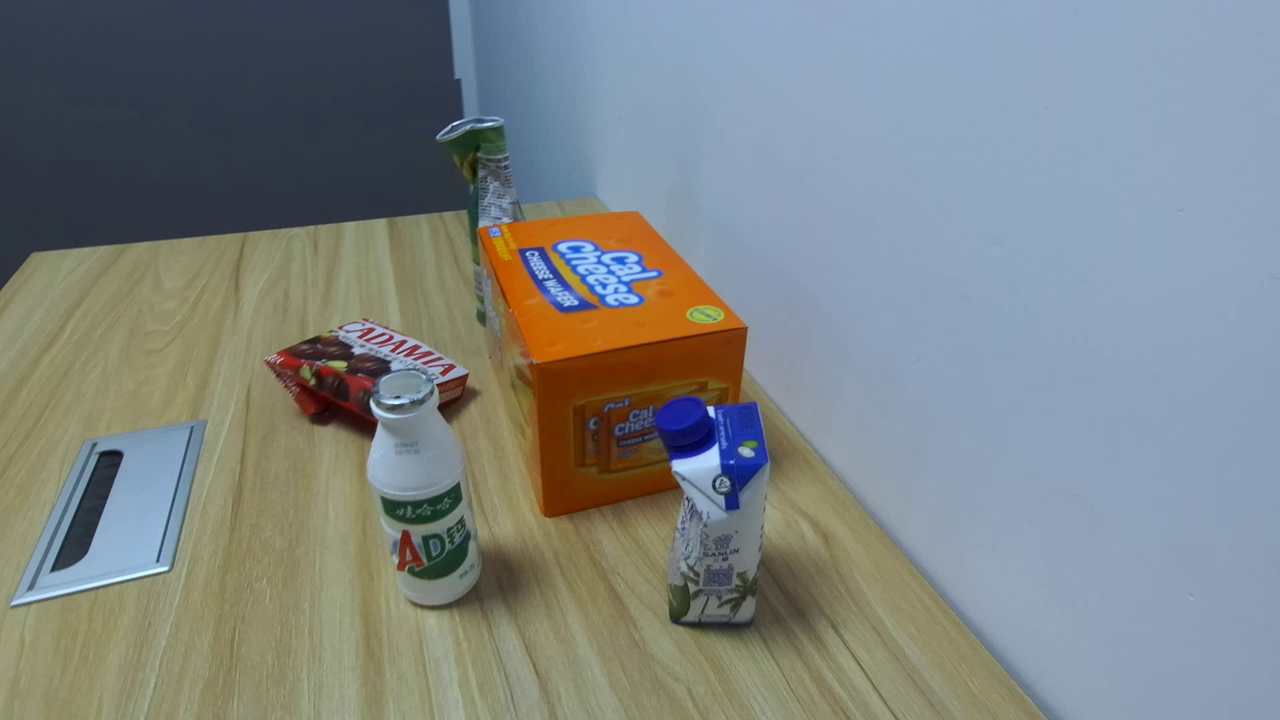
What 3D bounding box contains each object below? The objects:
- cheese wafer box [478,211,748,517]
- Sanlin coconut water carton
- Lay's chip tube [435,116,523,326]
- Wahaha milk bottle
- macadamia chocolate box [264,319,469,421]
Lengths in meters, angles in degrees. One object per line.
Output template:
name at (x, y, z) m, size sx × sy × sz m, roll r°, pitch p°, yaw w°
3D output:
cheese wafer box at (-0.032, -0.012, 0.553) m, size 0.148 × 0.129 × 0.221 m, roll -11°, pitch 35°, yaw -17°
Sanlin coconut water carton at (0.041, 0.083, 0.397) m, size 0.057 × 0.142 × 0.078 m, roll -3°, pitch 33°, yaw 4°
Lay's chip tube at (-0.138, -0.127, 0.665) m, size 0.071 × 0.199 × 0.079 m, roll -7°, pitch 32°, yaw -1°
Wahaha milk bottle at (-0.123, 0.078, 0.401) m, size 0.053 × 0.137 × 0.053 m, roll 1°, pitch 34°, yaw 0°
macadamia chocolate box at (-0.216, 0.008, 0.583) m, size 0.126 × 0.056 × 0.112 m, roll 15°, pitch 35°, yaw 18°
